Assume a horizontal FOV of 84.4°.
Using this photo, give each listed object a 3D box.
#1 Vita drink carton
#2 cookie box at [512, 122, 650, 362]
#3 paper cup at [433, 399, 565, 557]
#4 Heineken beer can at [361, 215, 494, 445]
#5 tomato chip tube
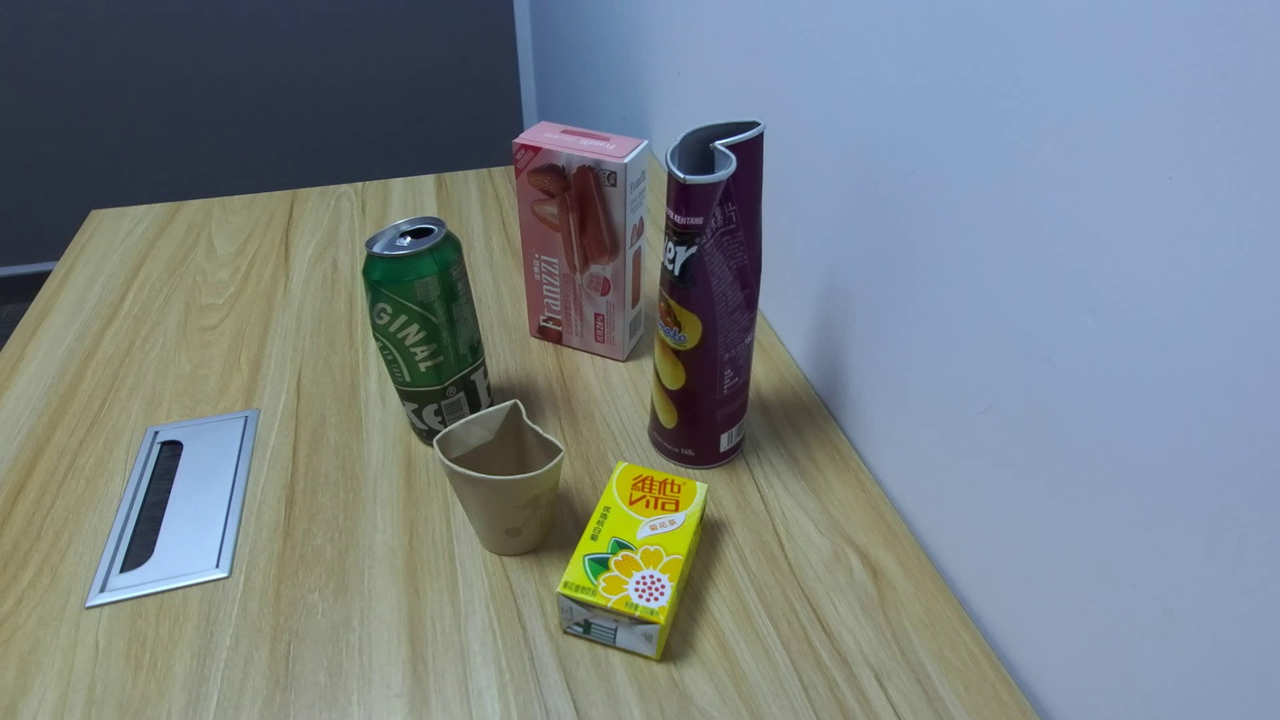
[{"bbox_3d":[-0.002,0.122,0.445,0.066,0.043,0.109,13,40,12],"label":"Vita drink carton"},{"bbox_3d":[-0.046,-0.092,0.586,0.096,0.185,0.048,15,39,18],"label":"cookie box"},{"bbox_3d":[-0.087,0.083,0.460,0.066,0.084,0.071,-26,46,-29],"label":"paper cup"},{"bbox_3d":[-0.152,-0.016,0.516,0.068,0.168,0.069,-13,37,-13],"label":"Heineken beer can"},{"bbox_3d":[0.047,-0.032,0.479,0.078,0.235,0.076,-8,40,-11],"label":"tomato chip tube"}]
